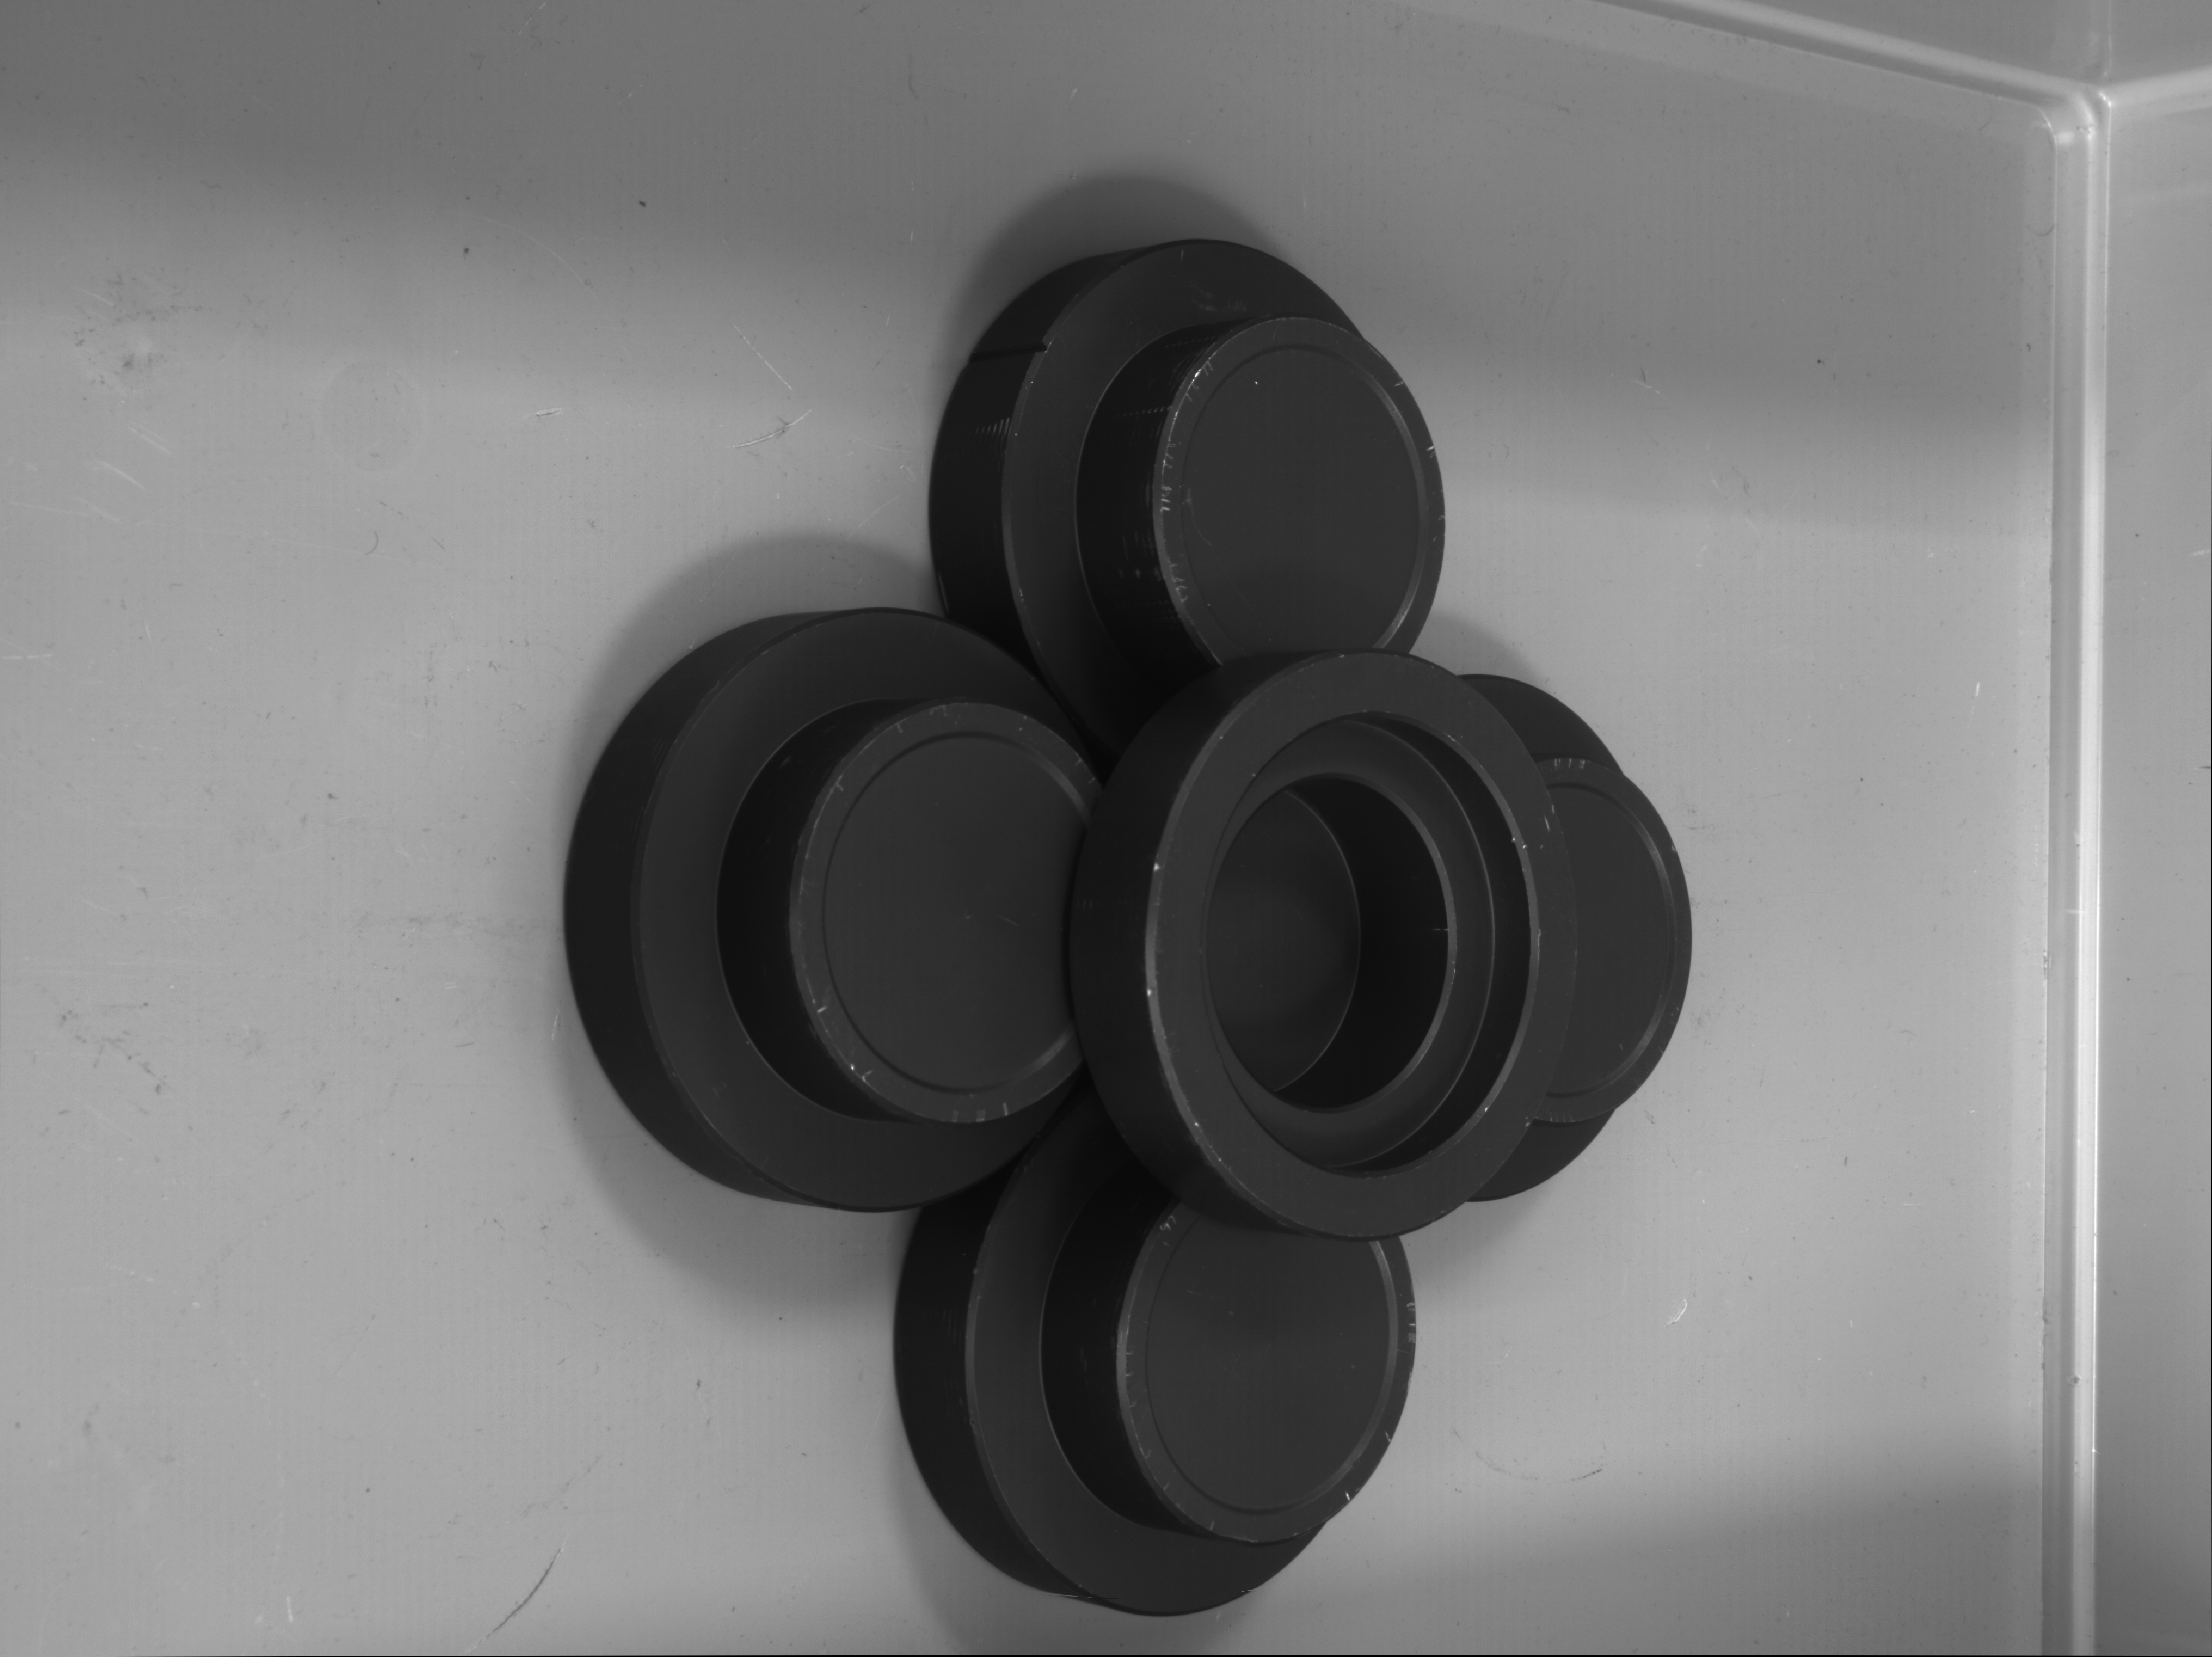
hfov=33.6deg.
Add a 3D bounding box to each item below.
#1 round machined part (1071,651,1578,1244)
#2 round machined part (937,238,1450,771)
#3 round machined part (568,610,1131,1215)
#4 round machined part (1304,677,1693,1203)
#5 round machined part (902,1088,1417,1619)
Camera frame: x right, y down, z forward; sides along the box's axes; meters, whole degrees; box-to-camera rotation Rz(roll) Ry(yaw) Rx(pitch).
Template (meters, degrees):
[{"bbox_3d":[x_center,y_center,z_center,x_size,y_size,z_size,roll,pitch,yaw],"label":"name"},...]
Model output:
[{"bbox_3d":[0.032,0.020,0.622,0.098,0.042,0.098,0,90,-40],"label":"round machined part"},{"bbox_3d":[0.022,-0.054,0.639,0.098,0.042,0.098,0,90,-40],"label":"round machined part"},{"bbox_3d":[-0.034,0.013,0.594,0.098,0.042,0.098,0,90,-40],"label":"round machined part"},{"bbox_3d":[0.071,0.021,0.681,0.098,0.042,0.098,0,90,-40],"label":"round machined part"},{"bbox_3d":[0.016,0.087,0.635,0.098,0.042,0.098,2,87,-41],"label":"round machined part"}]
